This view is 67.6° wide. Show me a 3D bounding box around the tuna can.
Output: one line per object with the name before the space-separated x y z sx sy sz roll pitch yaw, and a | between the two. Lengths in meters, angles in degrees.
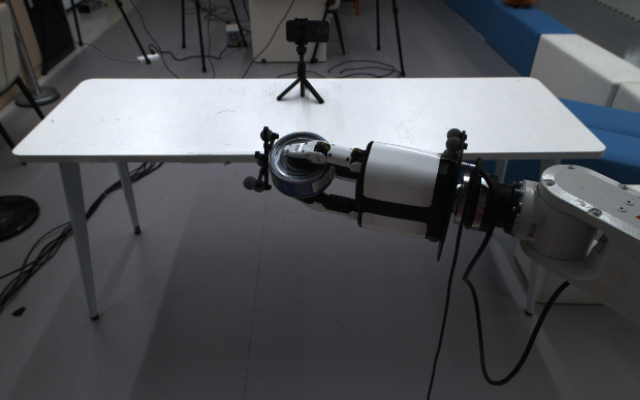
tuna can | -0.022 -0.048 0.629 0.085 0.034 0.085 -2 57 3
